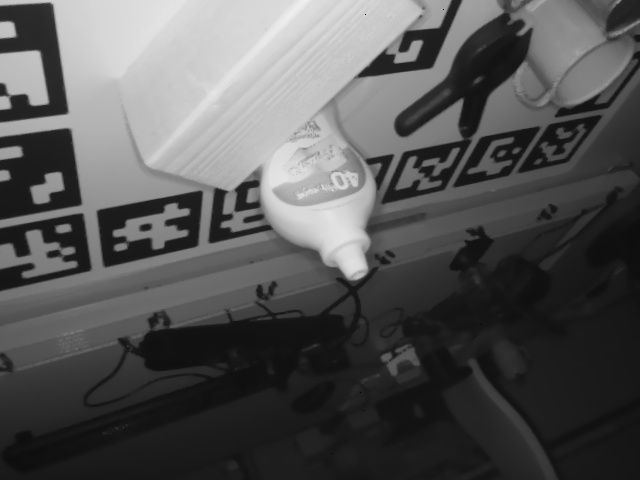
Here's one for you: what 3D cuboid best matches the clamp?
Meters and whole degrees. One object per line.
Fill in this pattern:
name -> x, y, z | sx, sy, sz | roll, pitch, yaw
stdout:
clamp -> 0.176, -0.147, 0.726 | 0.124, 0.036, 0.162 | 3, 136, -37

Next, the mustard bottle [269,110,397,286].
mustard bottle -> 0.012, -0.041, 0.599 | 0.097, 0.191, 0.058 | -15, 147, -19

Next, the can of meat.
can of meat -> 0.301, -0.229, 0.635 | 0.102, 0.084, 0.058 | -28, 148, 3

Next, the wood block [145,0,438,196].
wood block -> -0.027, -0.138, 0.533 | 0.204, 0.091, 0.091 | -39, 149, 23

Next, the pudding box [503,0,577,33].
pudding box -> 0.205, -0.244, 0.593 | 0.113, 0.038, 0.090 | -32, 148, 12

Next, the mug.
mug -> 0.260, -0.184, 0.726 | 0.095, 0.081, 0.115 | 4, 136, -40
